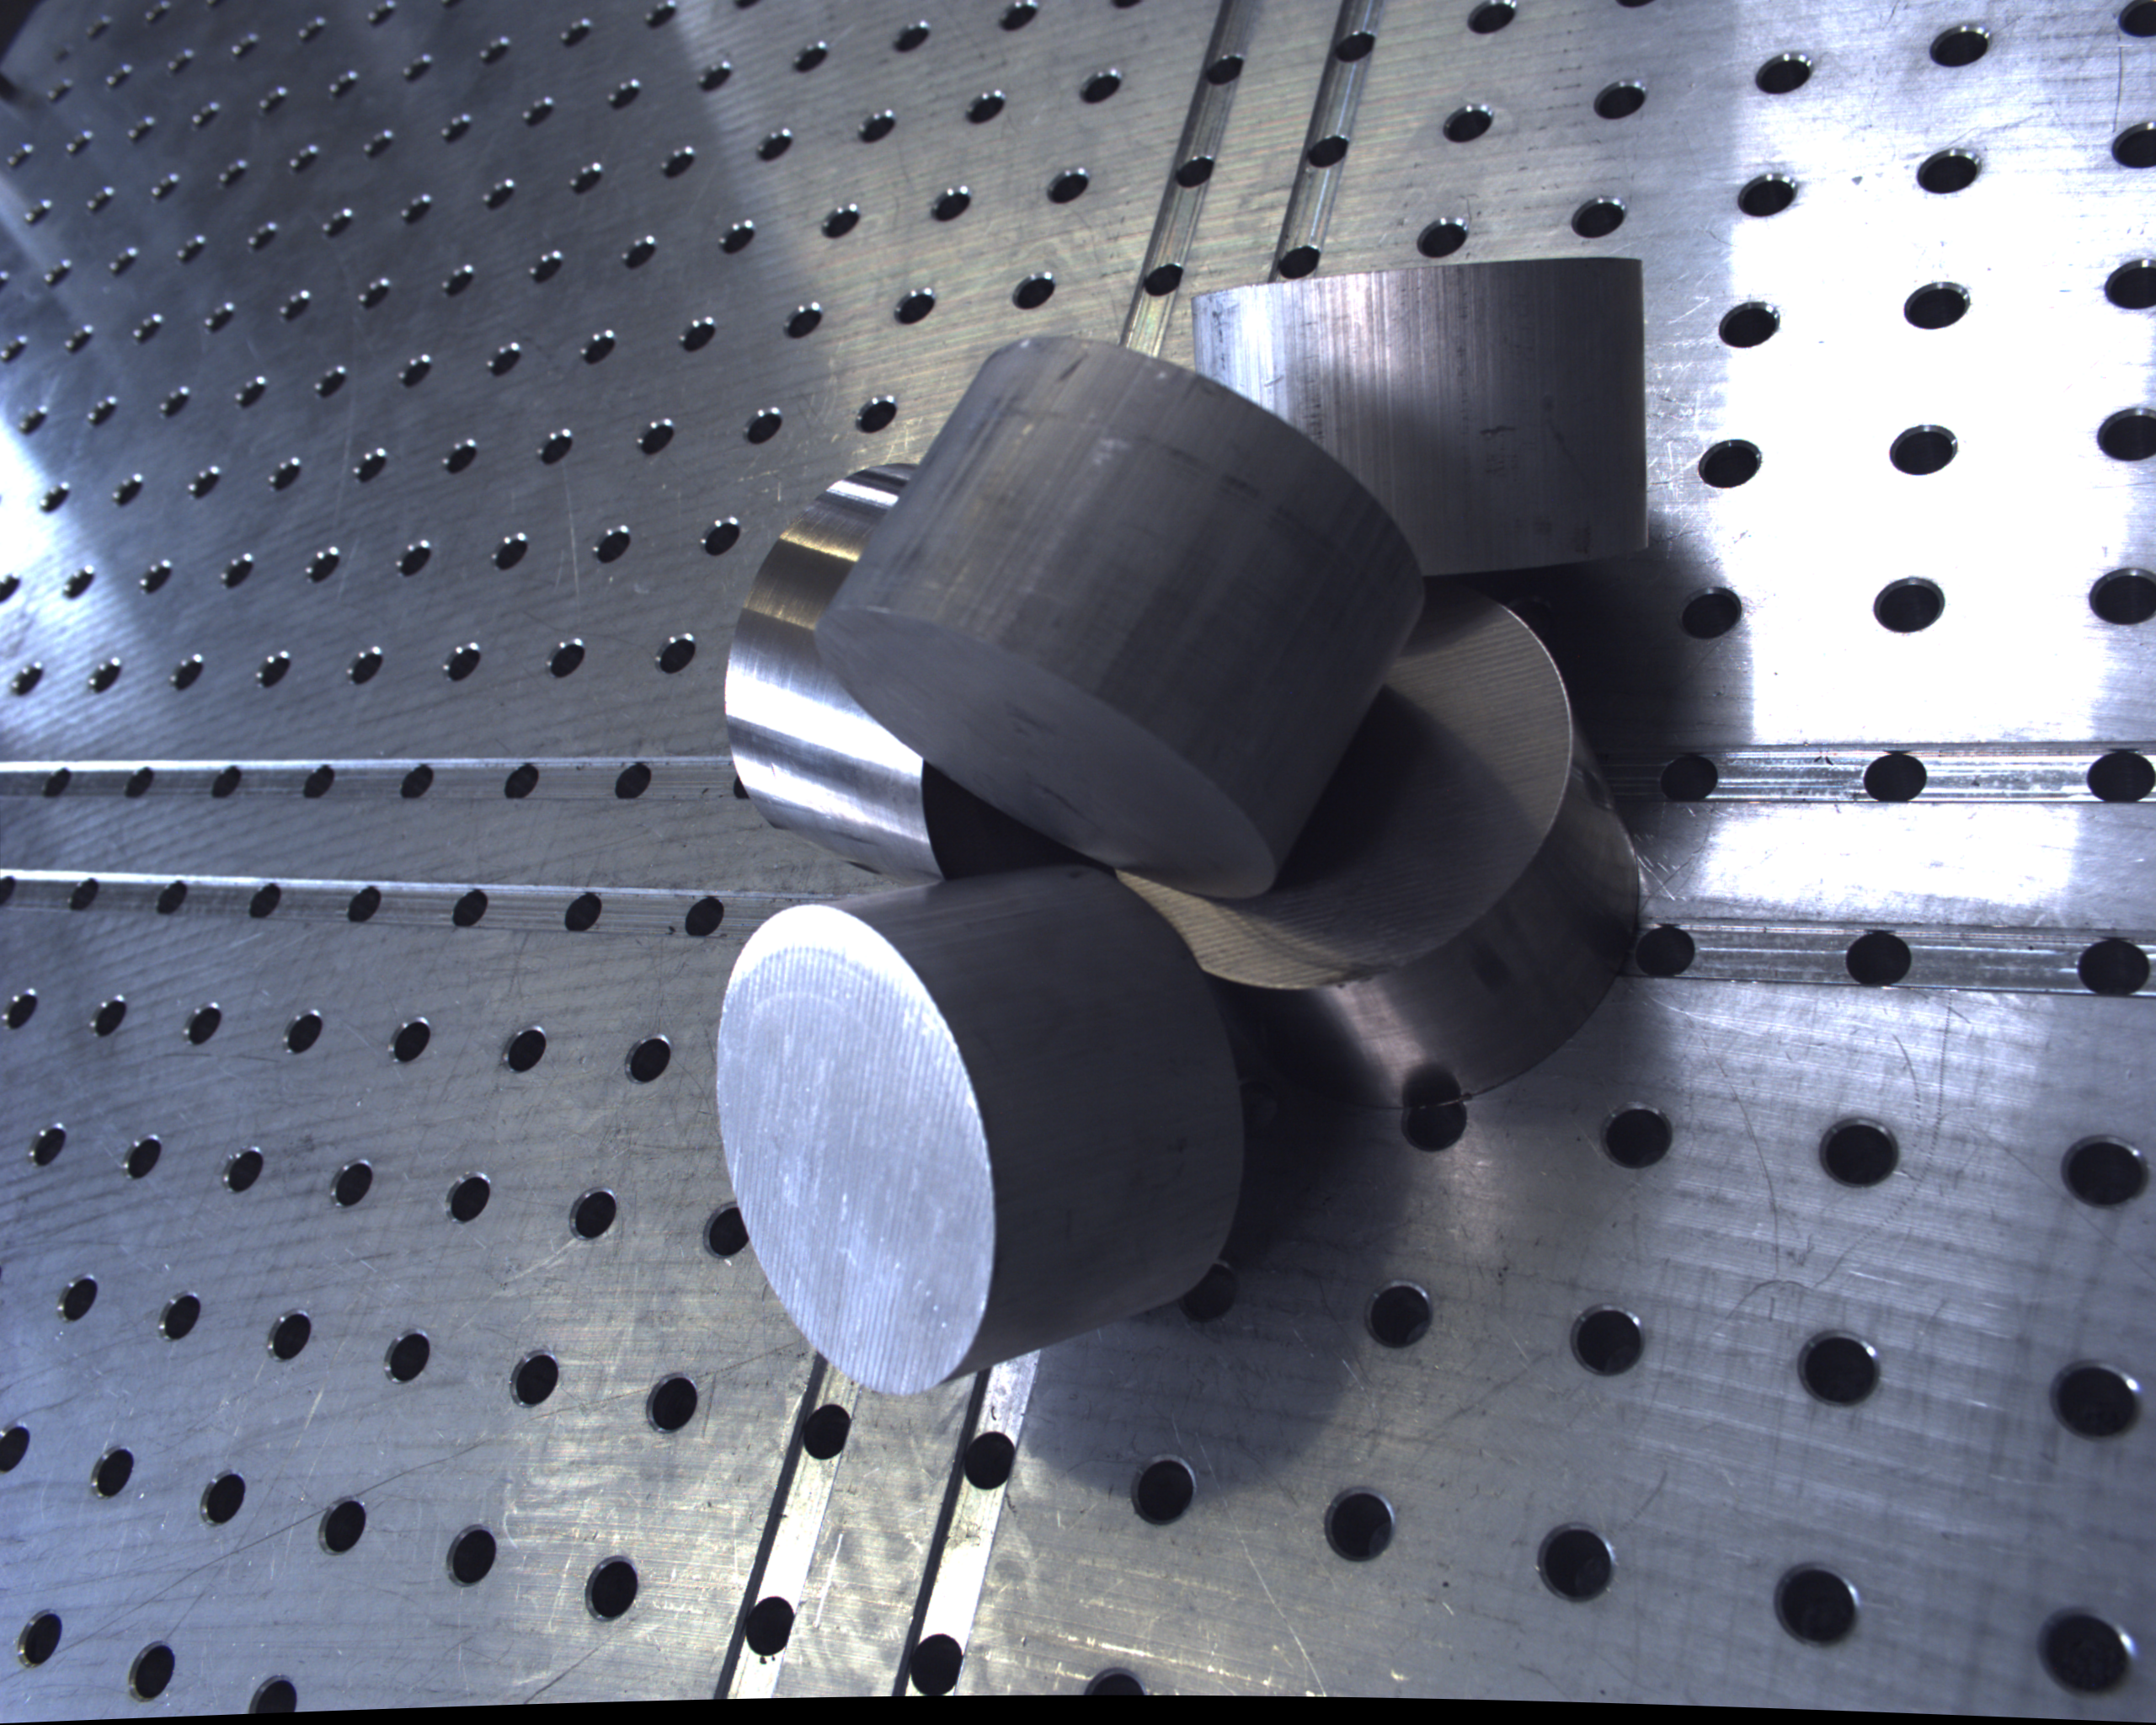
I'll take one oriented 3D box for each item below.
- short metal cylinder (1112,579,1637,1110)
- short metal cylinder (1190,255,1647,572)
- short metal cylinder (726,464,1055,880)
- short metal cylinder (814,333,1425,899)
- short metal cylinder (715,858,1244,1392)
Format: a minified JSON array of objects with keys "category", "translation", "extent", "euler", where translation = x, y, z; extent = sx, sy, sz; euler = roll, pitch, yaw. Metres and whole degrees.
[{"category":"short metal cylinder","translation":[0.052,-0.003,0.366],"extent":[0.080,0.050,0.080],"euler":[-14,55,21]},{"category":"short metal cylinder","translation":[0.062,-0.081,0.381],"extent":[0.080,0.080,0.050],"euler":[2,103,29]},{"category":"short metal cylinder","translation":[-0.021,-0.033,0.404],"extent":[0.050,0.080,0.080],"euler":[20,73,36]},{"category":"short metal cylinder","translation":[0.007,-0.037,0.326],"extent":[0.080,0.080,0.050],"euler":[19,72,35]},{"category":"short metal cylinder","translation":[-0.018,0.042,0.349],"extent":[0.080,0.050,0.079],"euler":[15,110,49]}]
